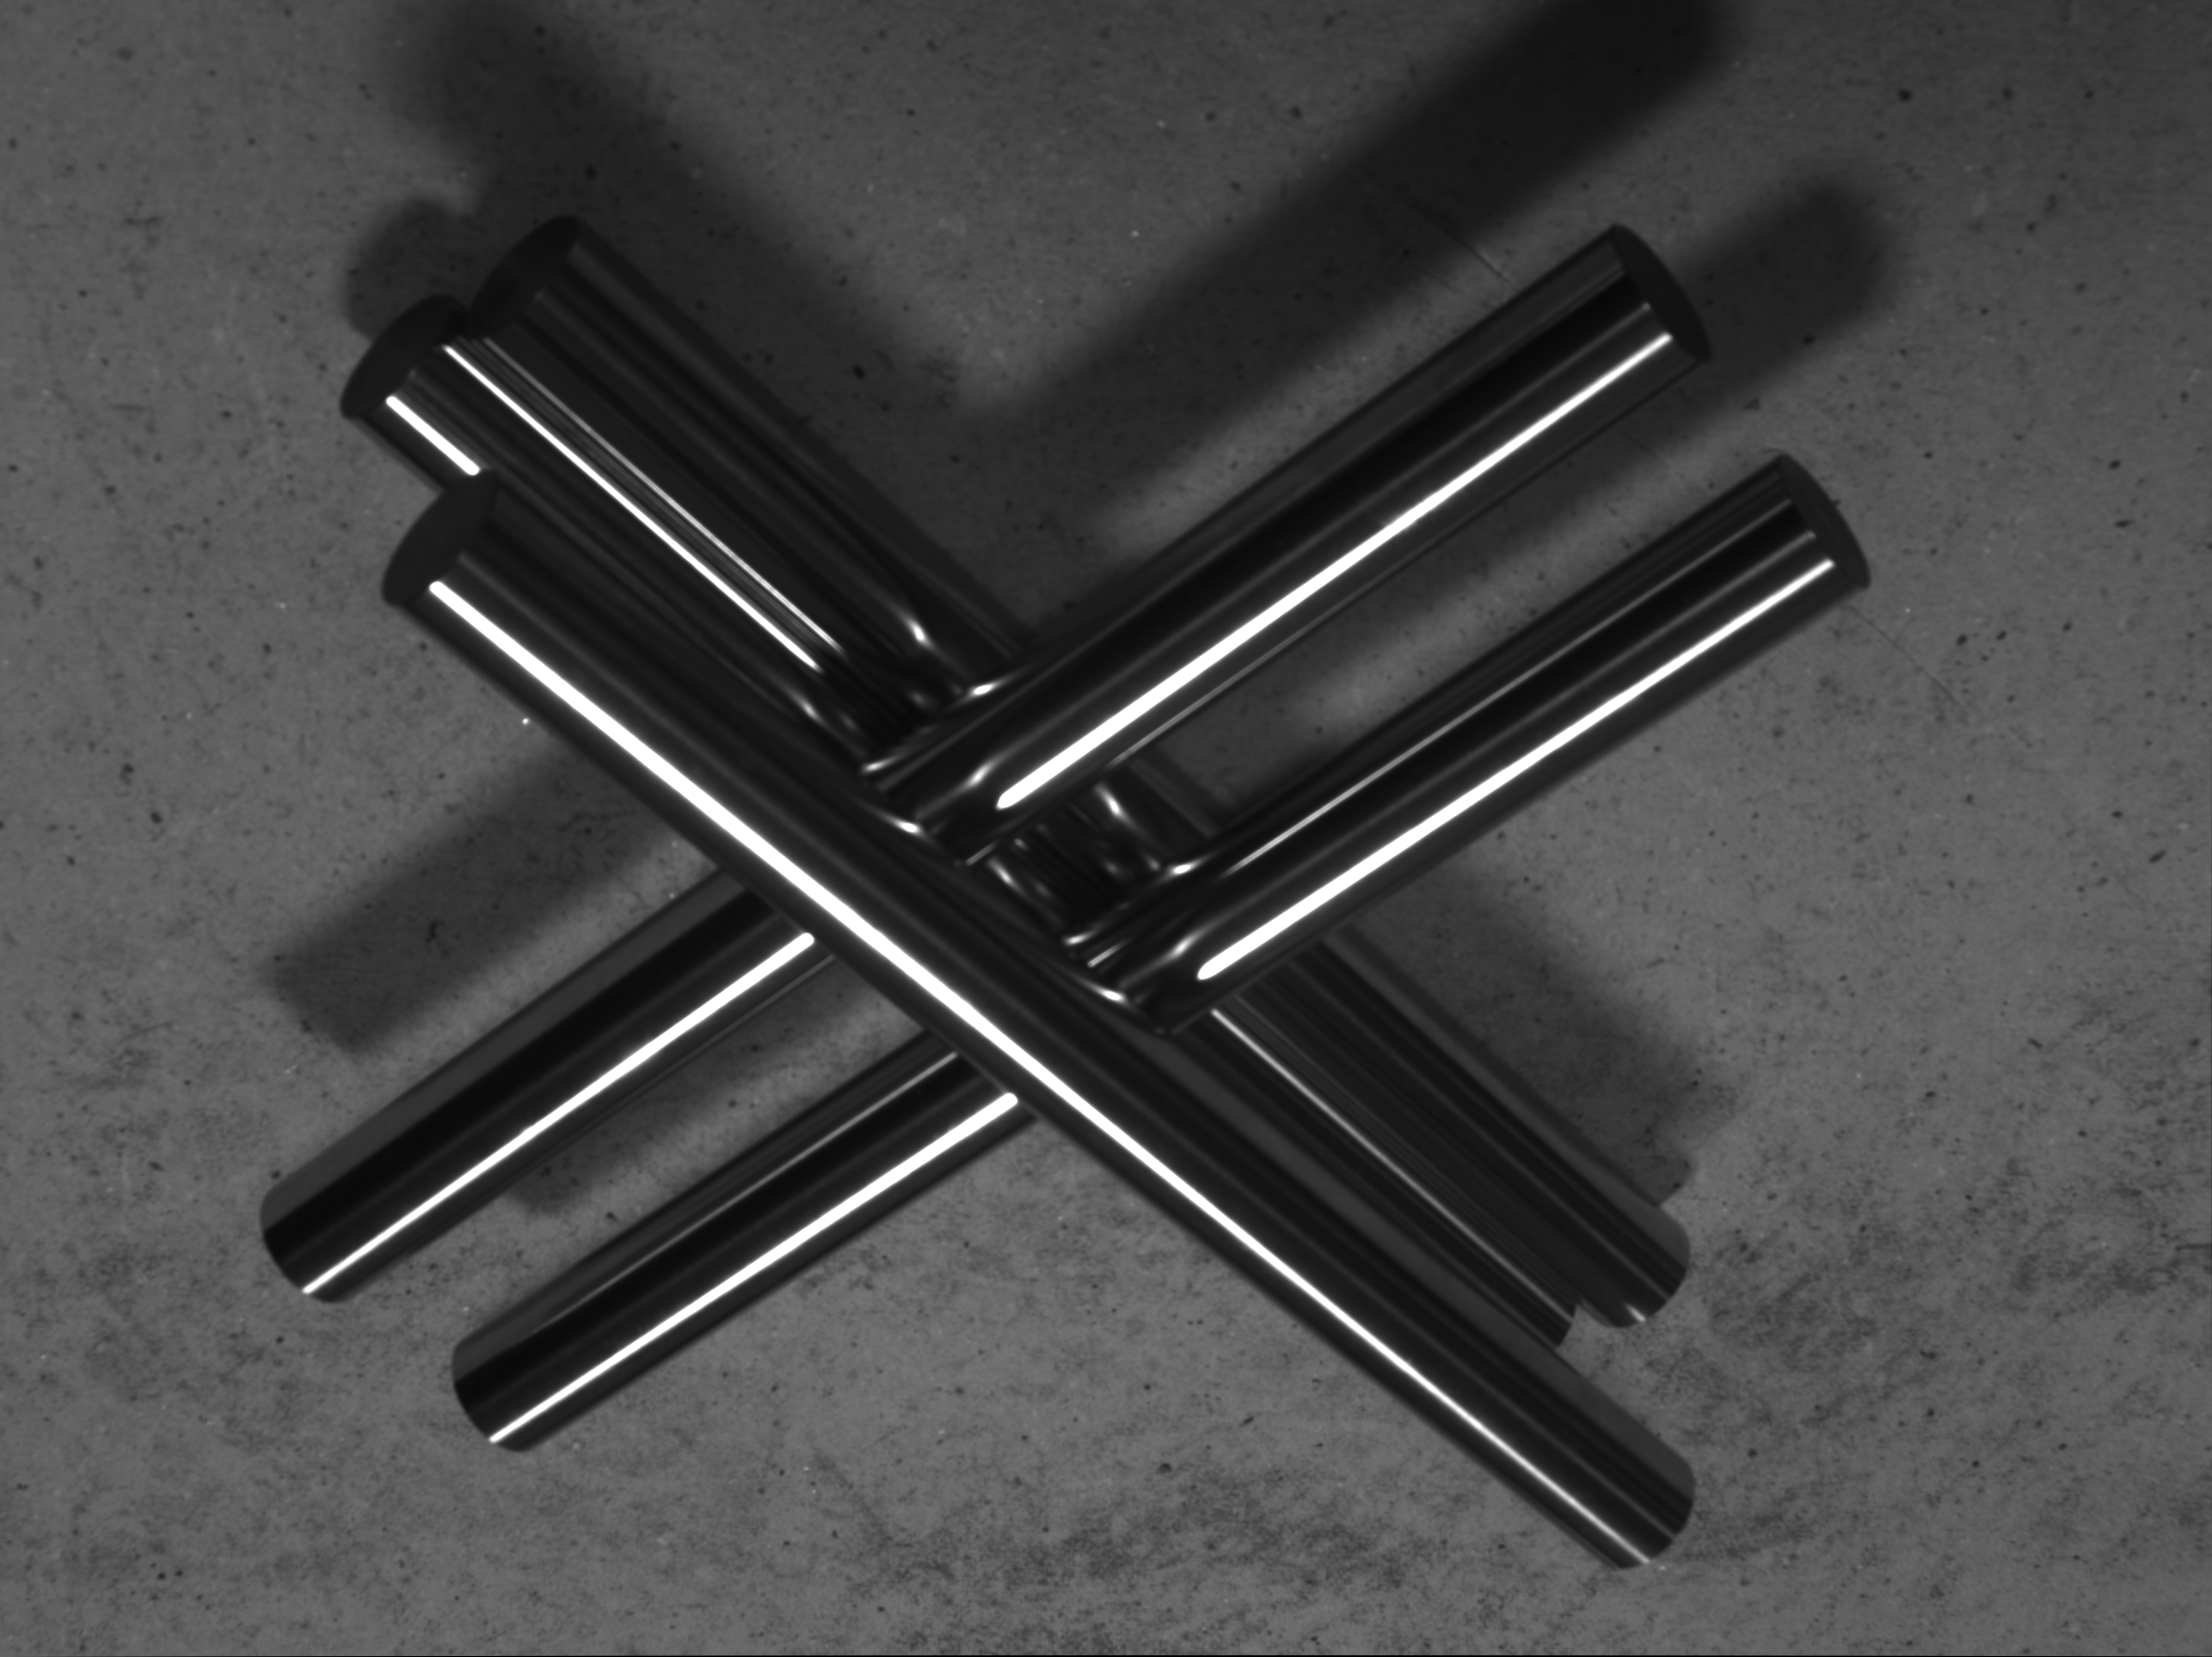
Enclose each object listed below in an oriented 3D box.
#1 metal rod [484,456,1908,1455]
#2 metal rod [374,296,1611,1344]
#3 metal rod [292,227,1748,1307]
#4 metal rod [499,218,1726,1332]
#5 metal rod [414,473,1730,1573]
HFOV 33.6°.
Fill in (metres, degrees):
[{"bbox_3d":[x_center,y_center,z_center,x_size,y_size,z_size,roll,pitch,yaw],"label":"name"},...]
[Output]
[{"bbox_3d":[0.005,0.030,0.631,0.300,0.025,0.025,-34,123,24],"label":"metal rod"},{"bbox_3d":[-0.008,0.012,0.648,0.025,0.025,0.301,-34,123,24],"label":"metal rod"},{"bbox_3d":[-0.025,-0.002,0.604,0.300,0.025,0.025,-34,123,24],"label":"metal rod"},{"bbox_3d":[0.013,0.001,0.640,0.025,0.025,0.301,-34,123,24],"label":"metal rod"},{"bbox_3d":[0.007,0.043,0.609,0.025,0.025,0.301,-35,123,24],"label":"metal rod"}]
